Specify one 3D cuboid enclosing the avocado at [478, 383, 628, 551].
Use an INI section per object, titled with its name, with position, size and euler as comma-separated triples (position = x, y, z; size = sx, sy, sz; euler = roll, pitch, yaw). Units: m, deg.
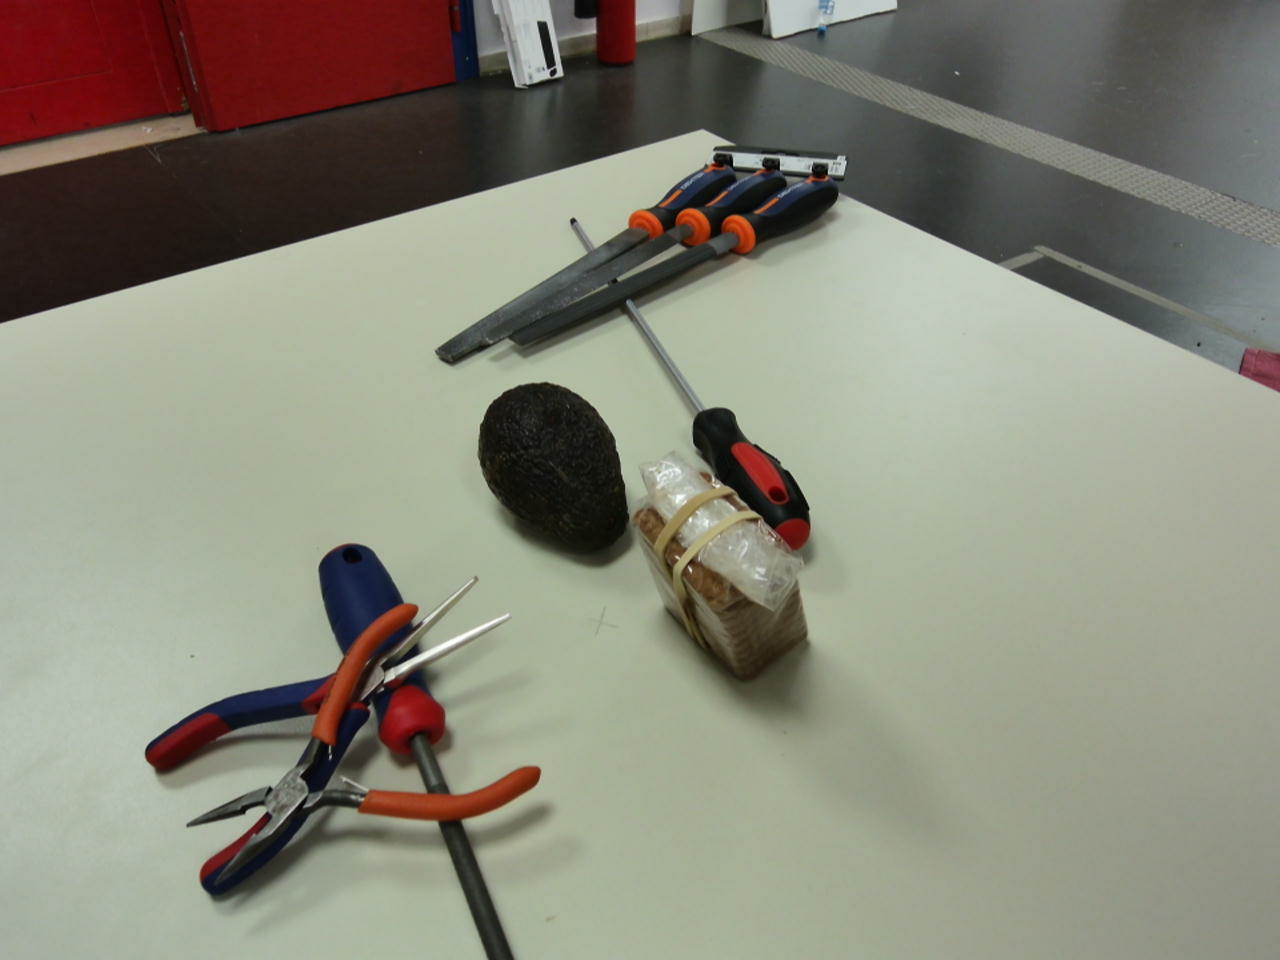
[avocado]
position = -0.045, -0.009, 0.505
size = 0.070, 0.069, 0.090
euler = -7, 38, -11
